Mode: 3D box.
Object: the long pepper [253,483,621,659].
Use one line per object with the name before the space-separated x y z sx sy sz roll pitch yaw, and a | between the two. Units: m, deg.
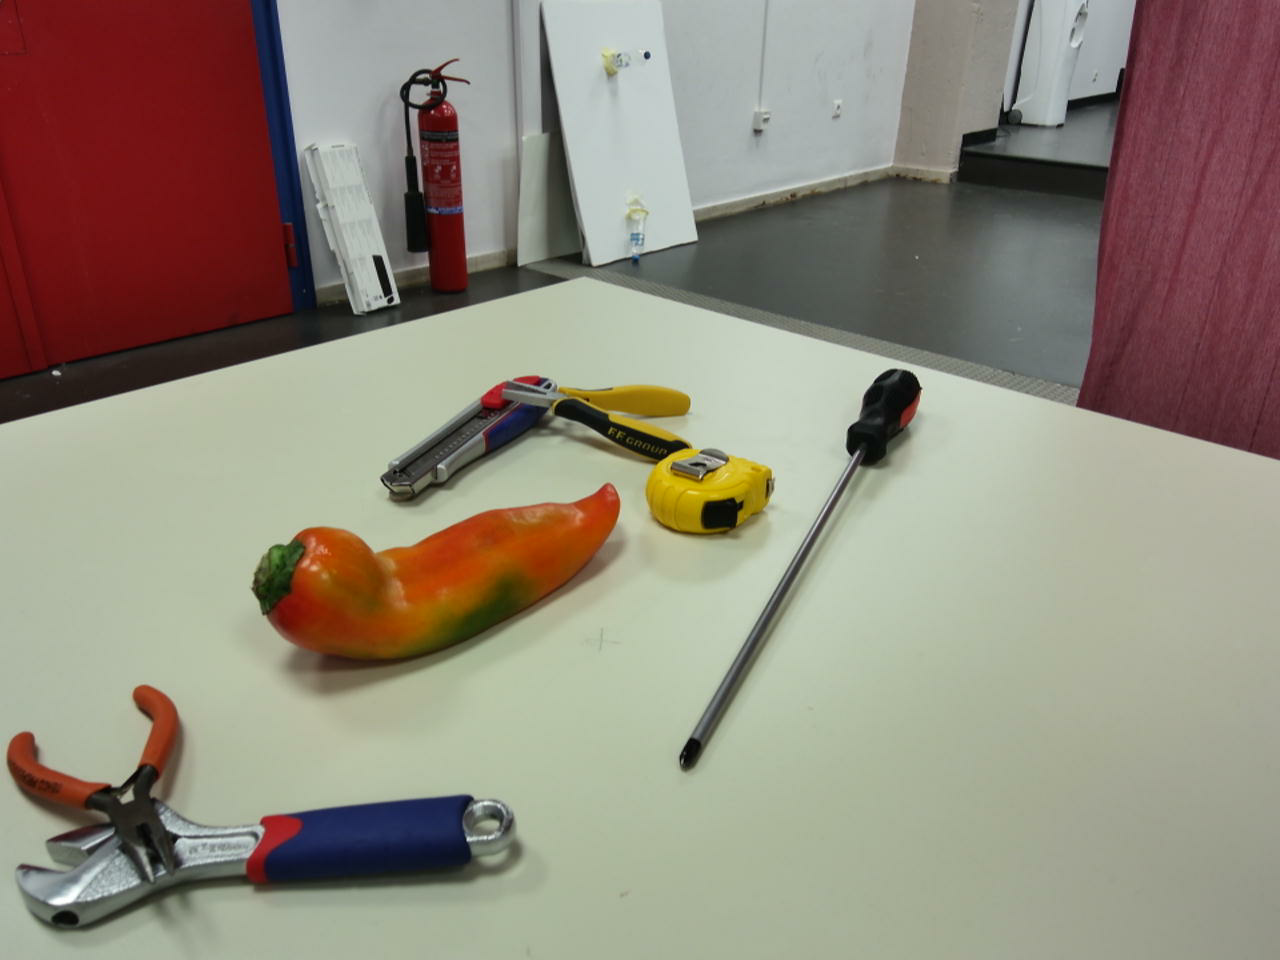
long pepper | -0.081 0.030 0.471 0.199 0.065 0.066 -21 32 -39
